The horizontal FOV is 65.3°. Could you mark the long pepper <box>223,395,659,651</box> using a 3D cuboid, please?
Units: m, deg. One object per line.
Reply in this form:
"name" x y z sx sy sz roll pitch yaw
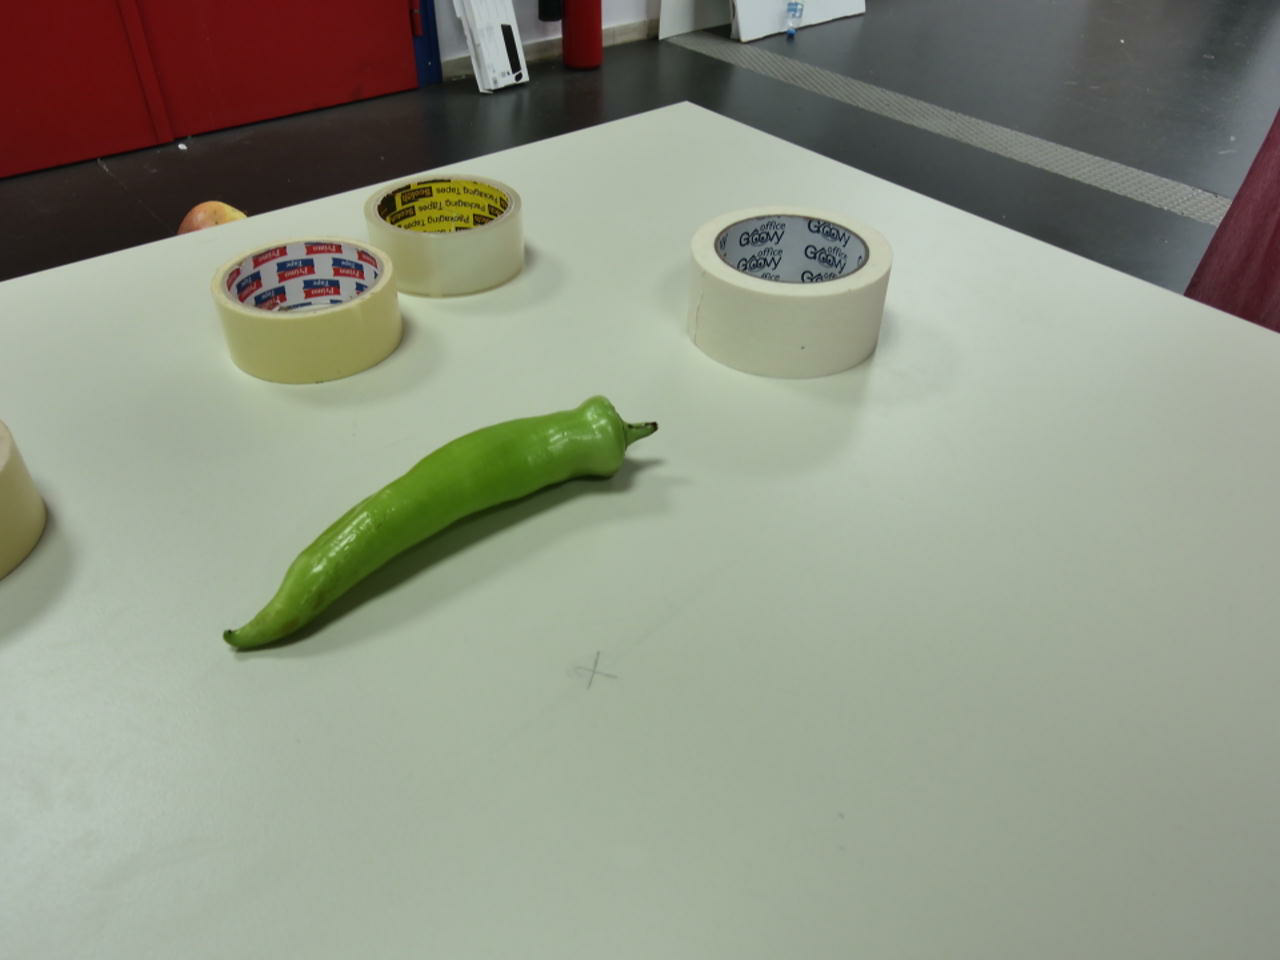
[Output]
"long pepper" -0.079 0.007 0.409 0.197 0.038 0.047 -24 44 -30
